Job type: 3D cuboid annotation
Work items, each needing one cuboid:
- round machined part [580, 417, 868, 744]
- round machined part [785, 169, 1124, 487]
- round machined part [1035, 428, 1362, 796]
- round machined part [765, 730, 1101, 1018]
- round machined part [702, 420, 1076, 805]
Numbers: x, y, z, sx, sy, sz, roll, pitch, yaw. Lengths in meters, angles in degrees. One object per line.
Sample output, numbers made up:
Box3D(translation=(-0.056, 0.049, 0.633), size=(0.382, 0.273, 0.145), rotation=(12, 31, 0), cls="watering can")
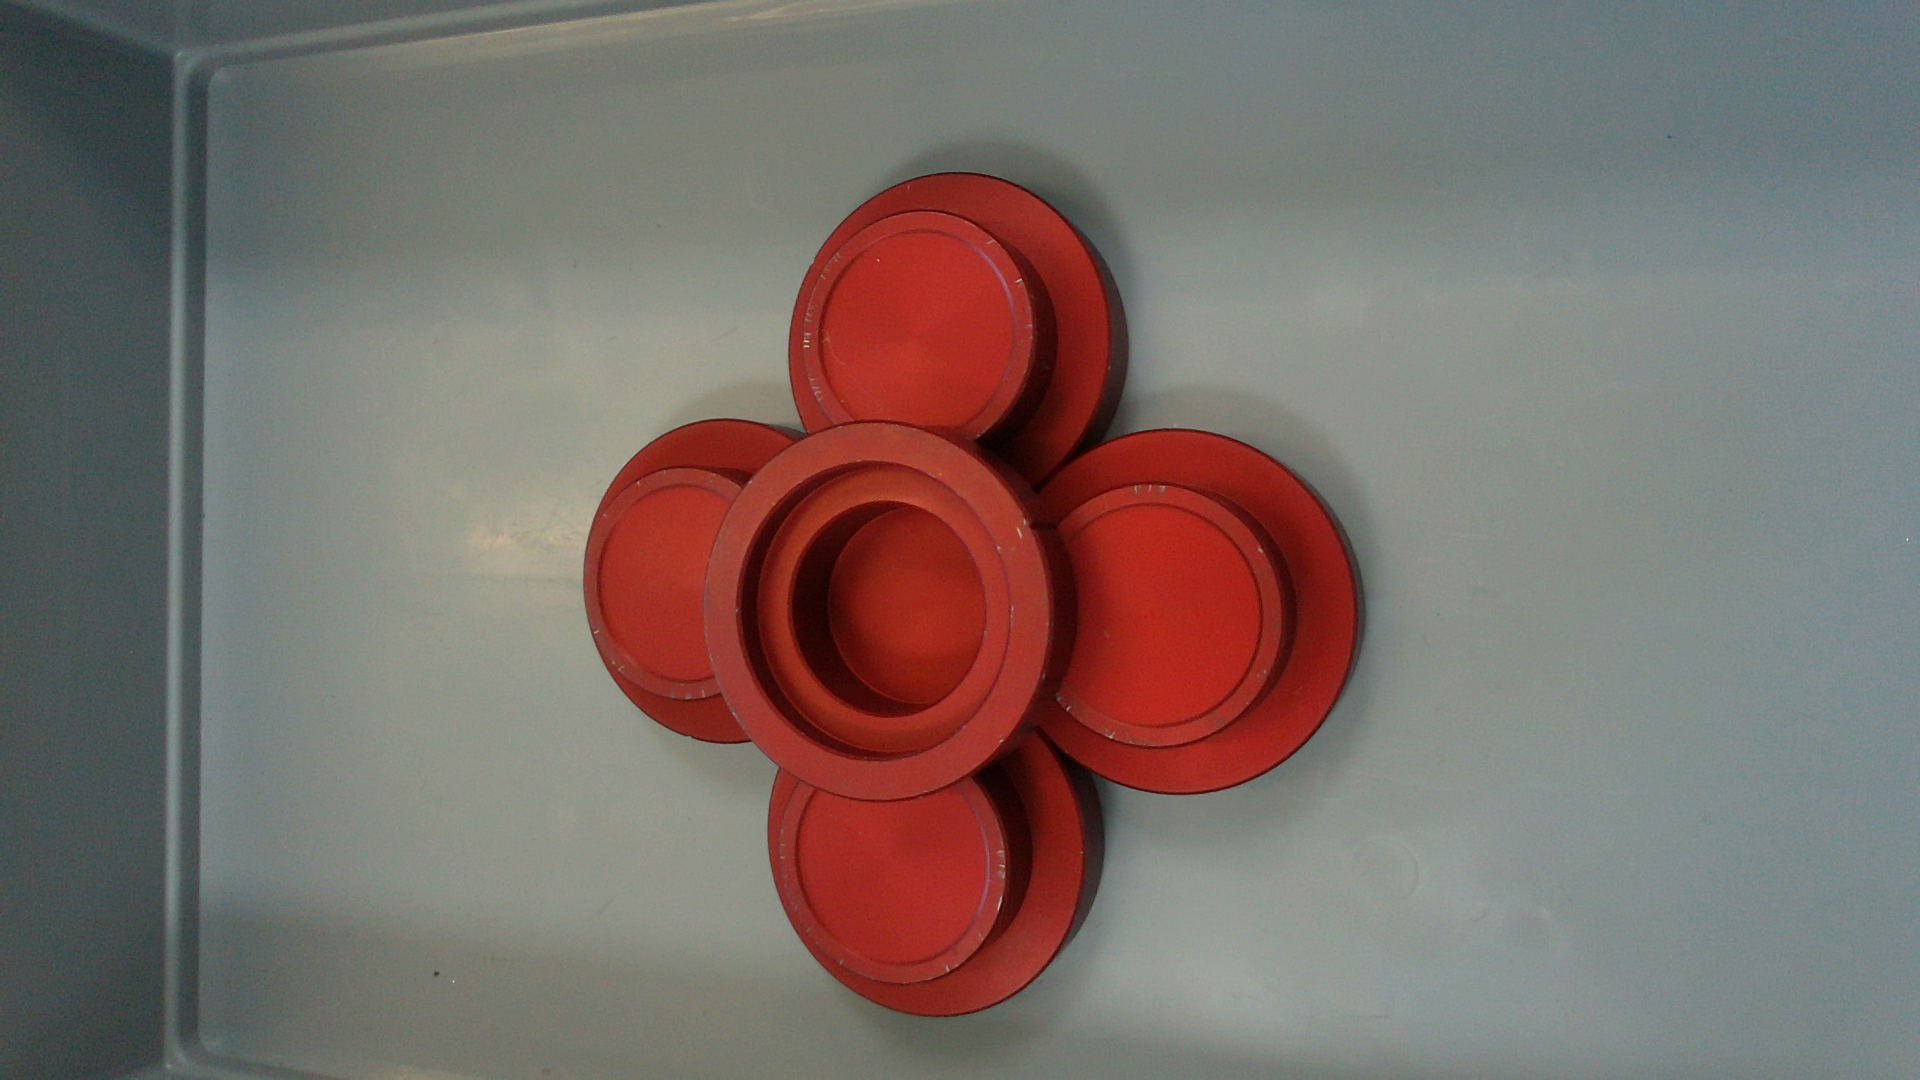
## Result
Box3D(translation=(-0.073, 0.012, 0.411), size=(0.098, 0.042, 0.098), rotation=(0, 90, 20), cls="round machined part")
Box3D(translation=(-0.006, -0.055, 0.386), size=(0.098, 0.042, 0.098), rotation=(0, 90, 20), cls="round machined part")
Box3D(translation=(0.055, 0.019, 0.365), size=(0.098, 0.042, 0.098), rotation=(0, 90, 20), cls="round machined part")
Box3D(translation=(-0.012, 0.086, 0.389), size=(0.098, 0.042, 0.098), rotation=(-1, 88, 19), cls="round machined part")
Box3D(translation=(-0.016, 0.018, 0.369), size=(0.098, 0.042, 0.098), rotation=(0, 90, 20), cls="round machined part")
